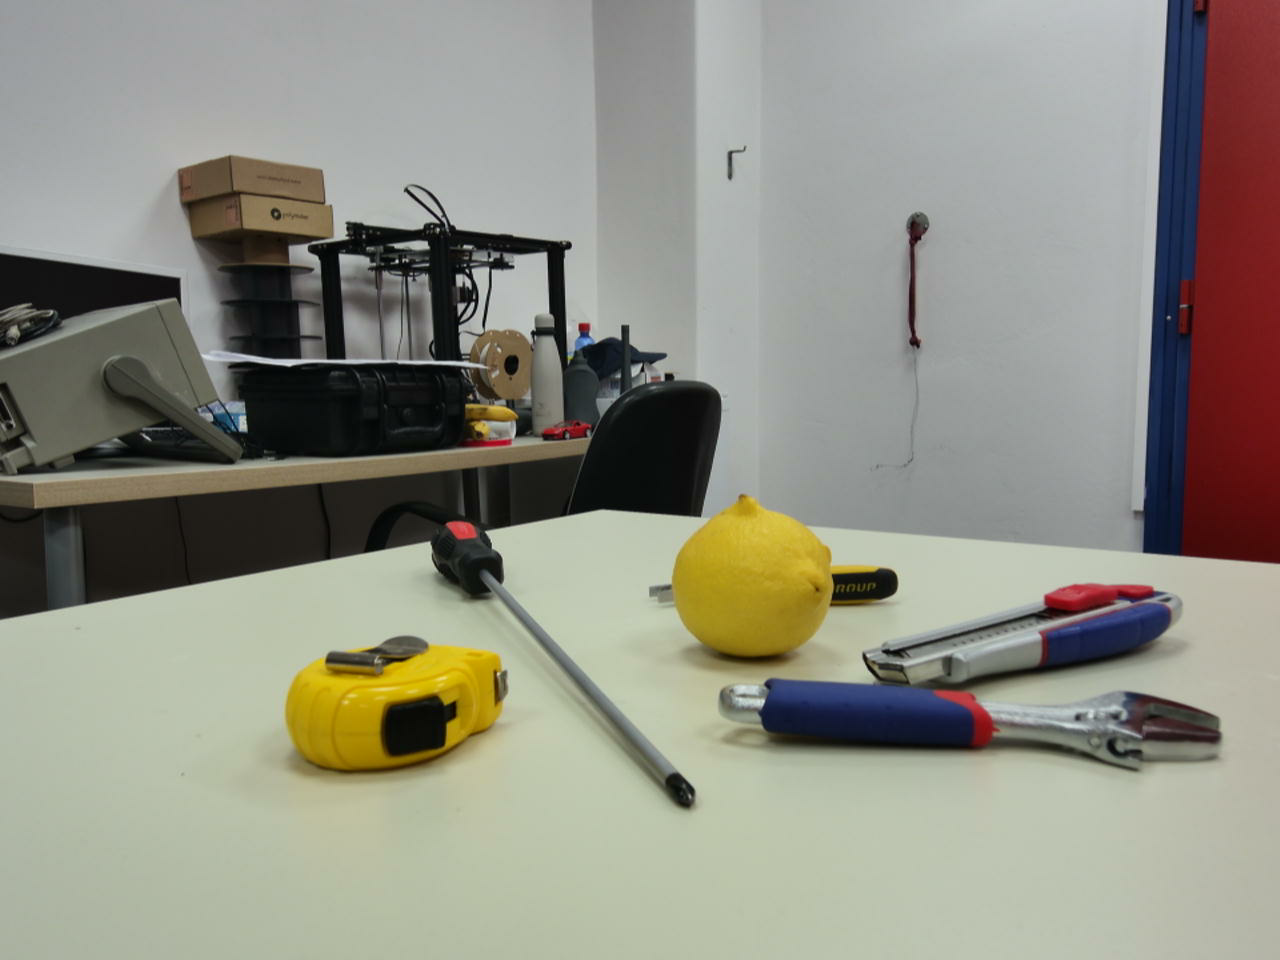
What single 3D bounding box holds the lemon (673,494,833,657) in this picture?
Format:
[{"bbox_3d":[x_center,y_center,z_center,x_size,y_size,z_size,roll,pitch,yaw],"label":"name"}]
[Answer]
[{"bbox_3d":[0.050,0.042,0.448,0.070,0.071,0.071,0,3,3],"label":"lemon"}]
